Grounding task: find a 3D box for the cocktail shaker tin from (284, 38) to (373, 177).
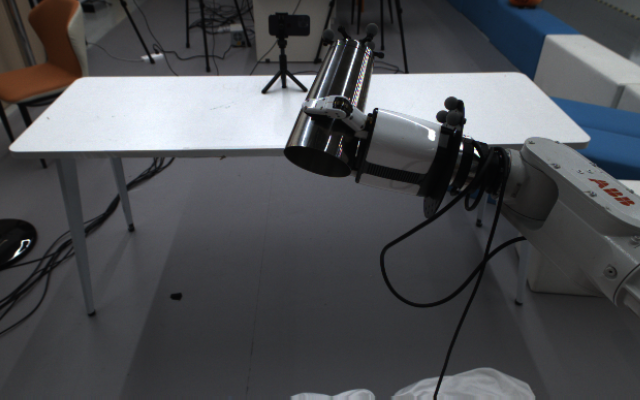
[{"bbox_3d":[0.020,-0.127,0.650,0.093,0.093,0.170,13,73,15],"label":"cocktail shaker tin"}]
